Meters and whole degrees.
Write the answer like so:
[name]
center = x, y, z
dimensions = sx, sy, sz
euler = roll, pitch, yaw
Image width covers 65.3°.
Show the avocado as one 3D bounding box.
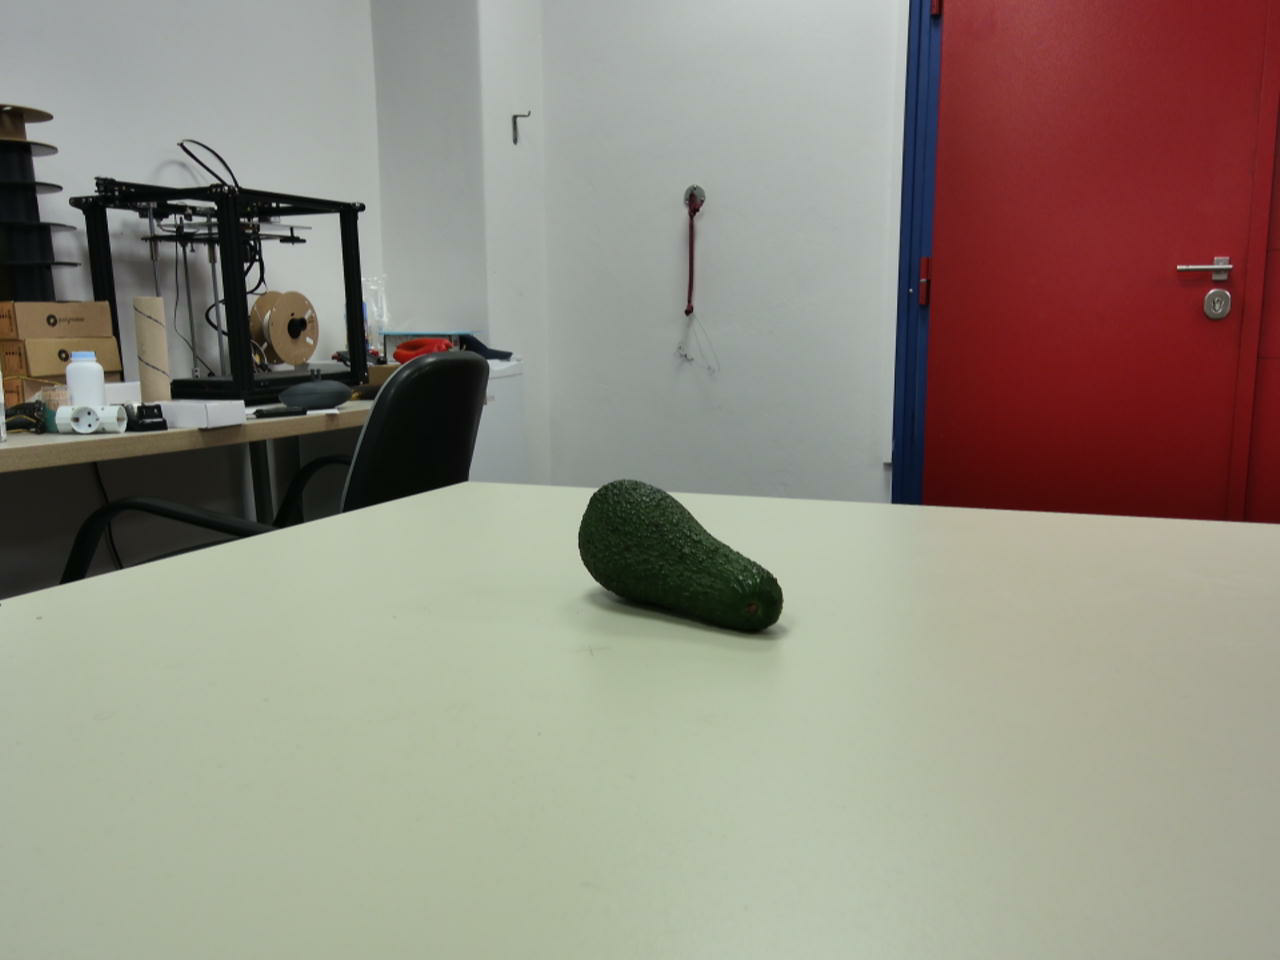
[avocado]
center = 0.023, 0.036, 0.529
dimensions = 0.141, 0.067, 0.063
euler = 5, 7, 39
